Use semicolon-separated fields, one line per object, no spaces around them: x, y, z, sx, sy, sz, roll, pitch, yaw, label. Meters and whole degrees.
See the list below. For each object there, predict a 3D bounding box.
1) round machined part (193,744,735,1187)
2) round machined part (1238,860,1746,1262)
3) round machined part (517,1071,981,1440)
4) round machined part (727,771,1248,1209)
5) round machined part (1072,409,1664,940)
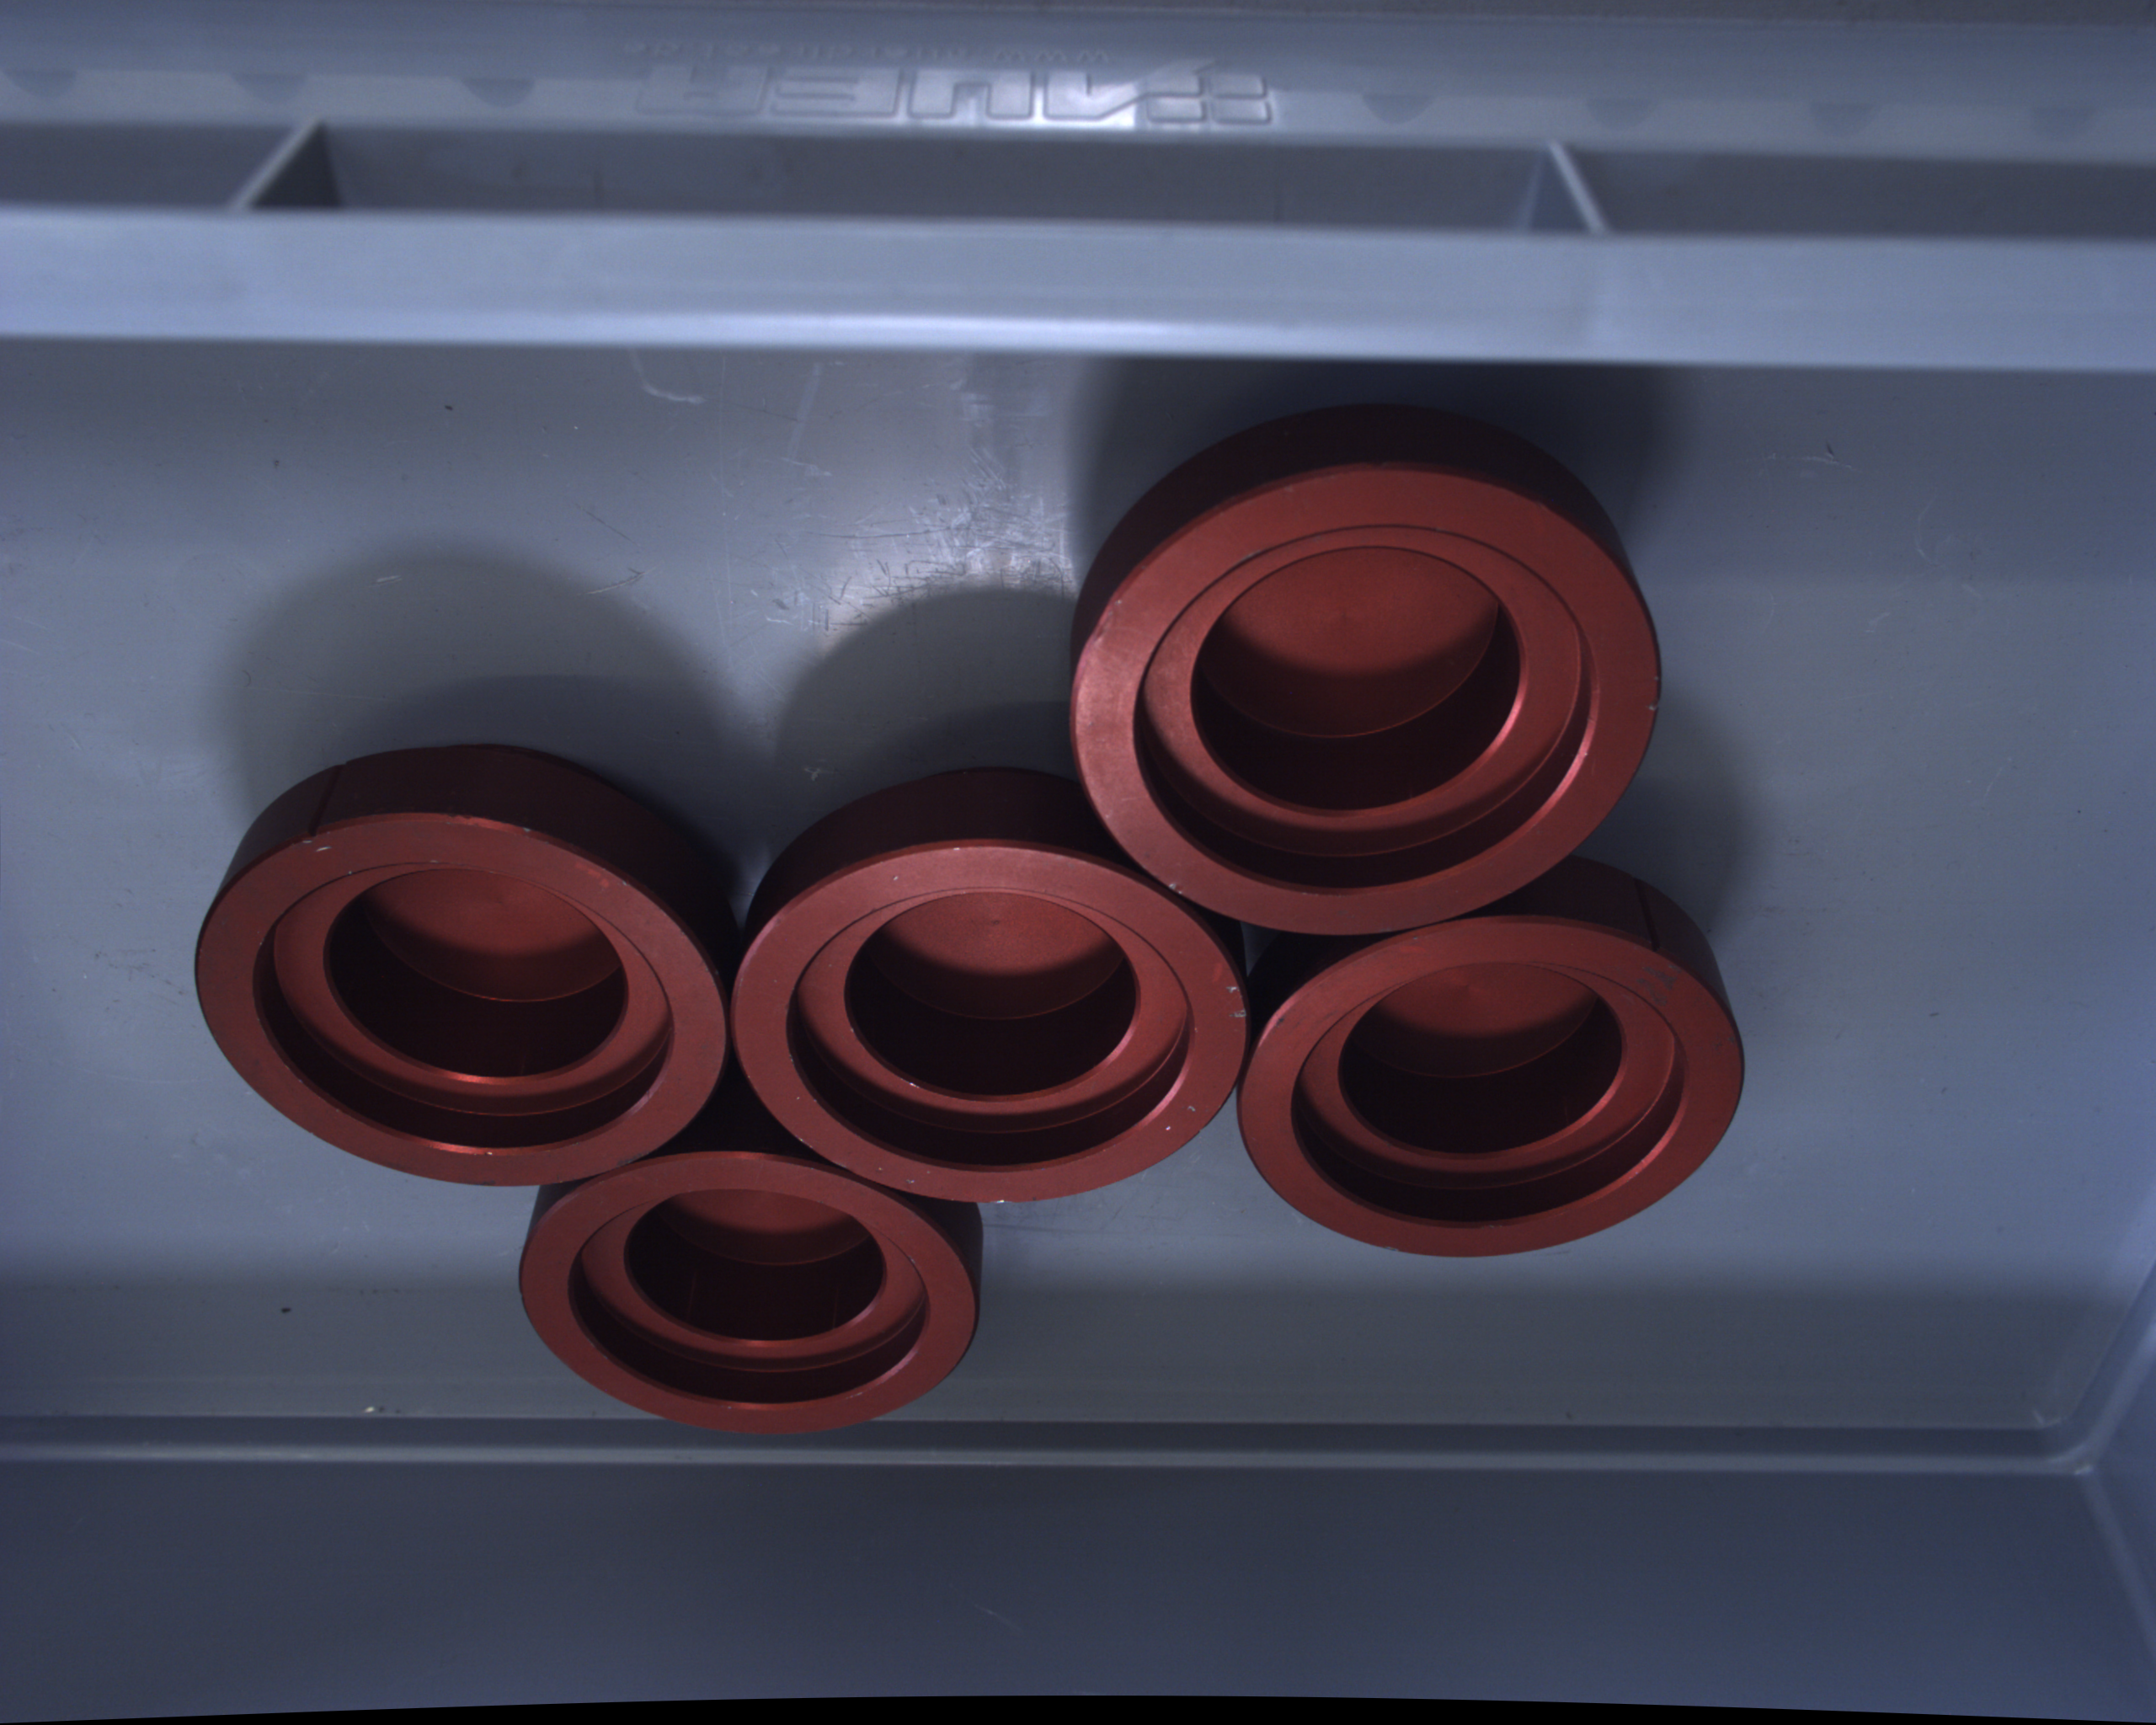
-0.115;0.016;0.407;0.099;0.042;0.097;0;130;0;round machined part
0.081;0.034;0.424;0.099;0.042;0.097;0;130;0;round machined part
-0.070;0.083;0.464;0.099;0.042;0.097;0;130;0;round machined part
-0.017;0.021;0.411;0.099;0.042;0.097;0;130;0;round machined part
0.048;-0.036;0.364;0.099;0.042;0.097;0;130;0;round machined part
